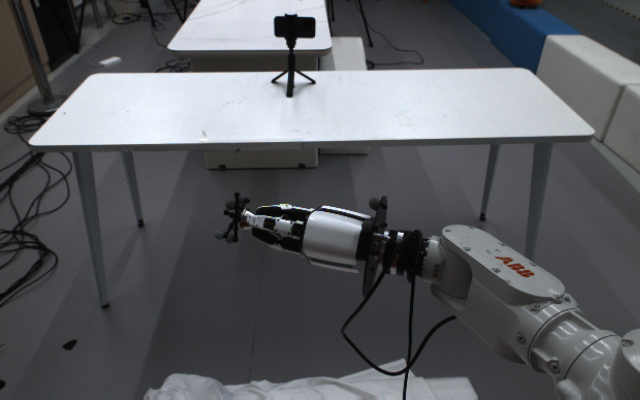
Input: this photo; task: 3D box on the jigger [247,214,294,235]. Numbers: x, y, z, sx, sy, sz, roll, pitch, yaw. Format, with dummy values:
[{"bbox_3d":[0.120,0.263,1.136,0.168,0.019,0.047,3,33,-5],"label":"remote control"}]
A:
[{"bbox_3d":[-0.085,0.034,0.787,0.071,0.043,0.043,10,35,16],"label":"jigger"}]
